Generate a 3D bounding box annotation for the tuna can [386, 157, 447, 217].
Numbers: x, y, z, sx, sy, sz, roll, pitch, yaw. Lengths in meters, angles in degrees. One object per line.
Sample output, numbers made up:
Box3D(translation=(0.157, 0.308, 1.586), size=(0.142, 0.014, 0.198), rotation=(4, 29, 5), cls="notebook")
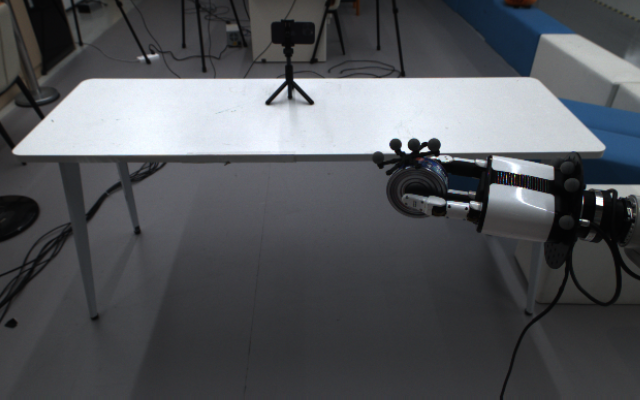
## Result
Box3D(translation=(0.140, -0.019, 0.686), size=(0.085, 0.085, 0.034), rotation=(11, 34, 13), cls="tuna can")
